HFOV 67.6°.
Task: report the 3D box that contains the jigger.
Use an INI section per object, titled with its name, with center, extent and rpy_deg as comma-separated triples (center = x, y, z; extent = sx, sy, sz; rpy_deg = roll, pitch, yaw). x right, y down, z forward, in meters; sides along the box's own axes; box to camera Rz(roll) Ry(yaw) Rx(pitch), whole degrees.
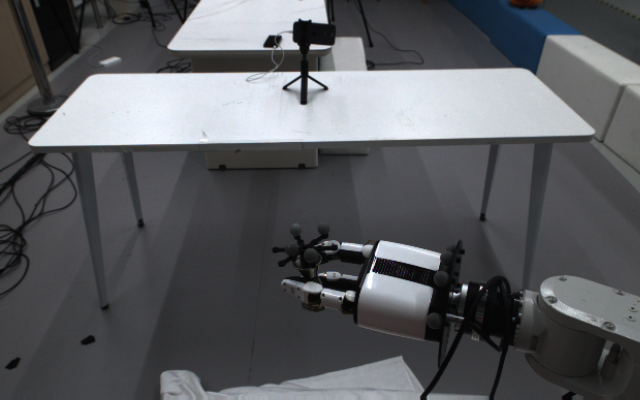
[jigger]
center = -0.008, 0.106, 0.650
extent = 0.043, 0.071, 0.043
rpy_deg = -11, 23, 5
